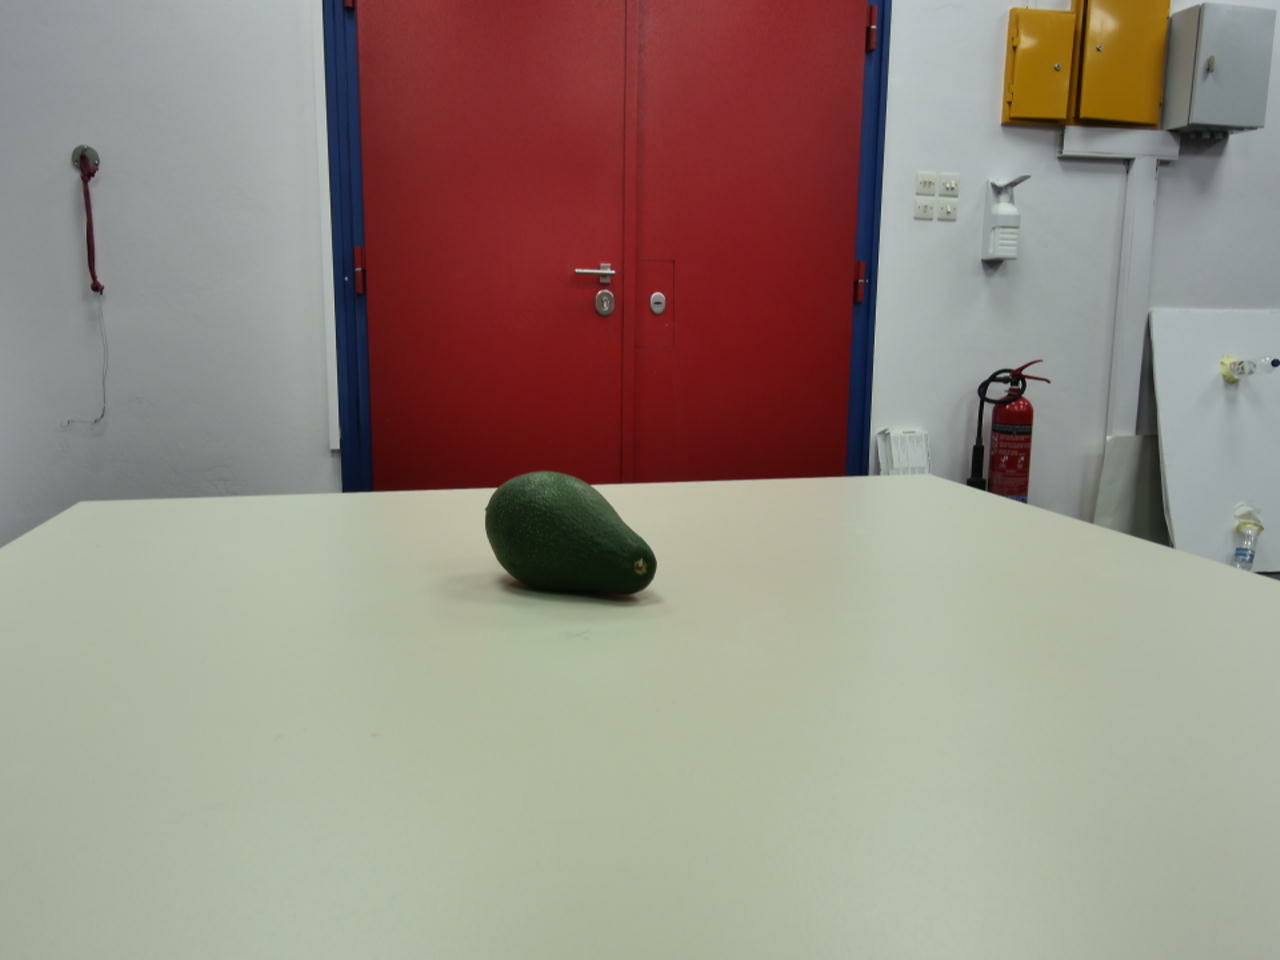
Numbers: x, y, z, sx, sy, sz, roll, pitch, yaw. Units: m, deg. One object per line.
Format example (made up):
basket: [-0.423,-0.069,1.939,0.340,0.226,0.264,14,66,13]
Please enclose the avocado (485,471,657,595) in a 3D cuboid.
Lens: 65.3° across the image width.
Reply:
avocado: [-0.045,0.031,0.592,0.072,0.071,0.110,-4,9,-35]
